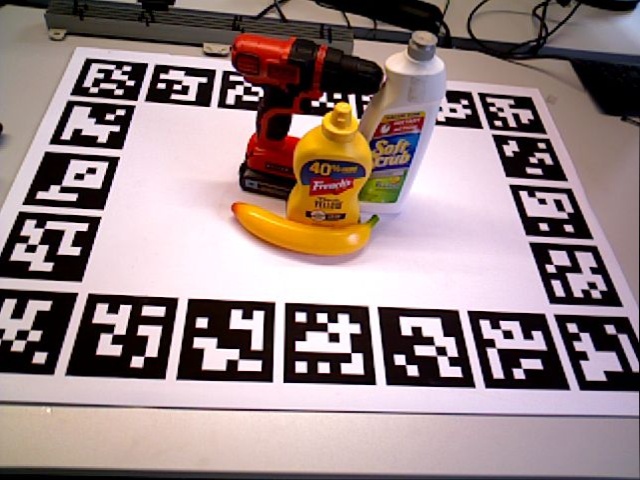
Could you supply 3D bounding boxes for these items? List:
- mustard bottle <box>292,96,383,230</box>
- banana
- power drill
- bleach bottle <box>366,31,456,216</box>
[{"bbox_3d":[0.023,-0.087,0.641,0.095,0.196,0.057,5,52,-6],"label":"mustard bottle"},{"bbox_3d":[-0.008,-0.012,0.690,0.196,0.040,0.073,7,54,-1],"label":"banana"},{"bbox_3d":[-0.015,-0.158,0.663,0.184,0.191,0.056,15,51,1],"label":"power drill"},{"bbox_3d":[0.095,-0.142,0.662,0.102,0.257,0.066,6,46,-4],"label":"bleach bottle"}]
